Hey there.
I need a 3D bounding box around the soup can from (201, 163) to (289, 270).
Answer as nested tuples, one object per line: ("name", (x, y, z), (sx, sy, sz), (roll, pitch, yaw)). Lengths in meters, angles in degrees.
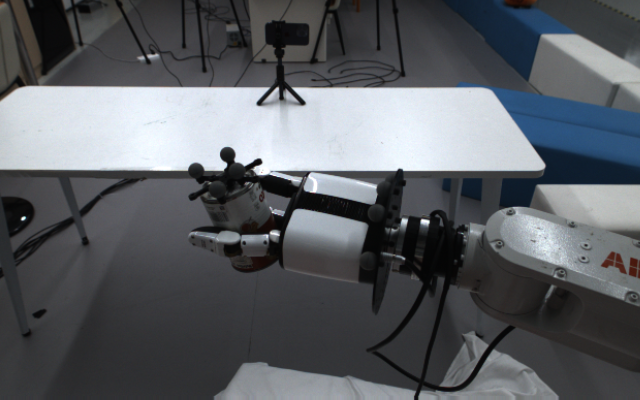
("soup can", (-0.086, 0.024, 0.554), (0.067, 0.101, 0.067), (-13, 31, 8))
